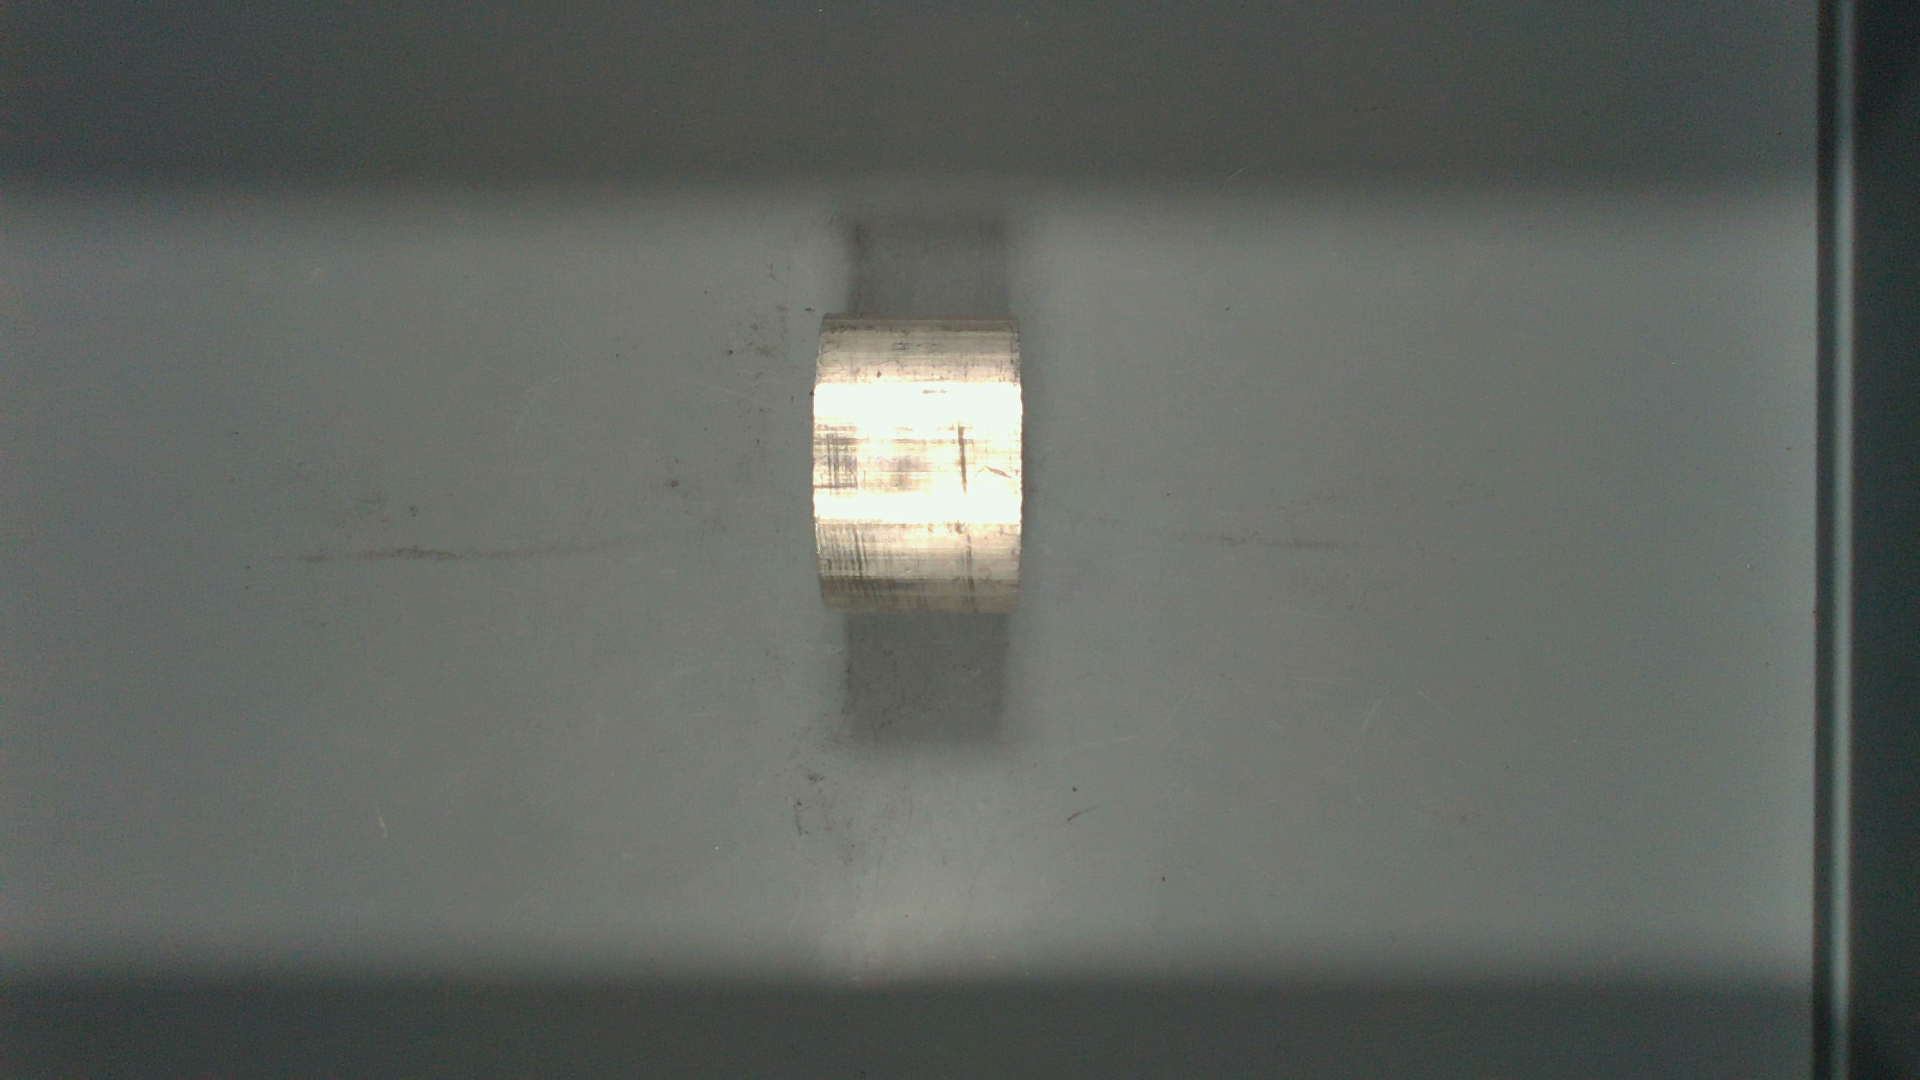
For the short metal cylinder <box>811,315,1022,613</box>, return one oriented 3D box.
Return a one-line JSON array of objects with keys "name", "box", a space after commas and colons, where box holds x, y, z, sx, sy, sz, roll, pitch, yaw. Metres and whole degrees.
[{"name": "short metal cylinder", "box": [-0.010, -0.020, 0.366, 0.050, 0.080, 0.080, 0, 90, 0]}]
